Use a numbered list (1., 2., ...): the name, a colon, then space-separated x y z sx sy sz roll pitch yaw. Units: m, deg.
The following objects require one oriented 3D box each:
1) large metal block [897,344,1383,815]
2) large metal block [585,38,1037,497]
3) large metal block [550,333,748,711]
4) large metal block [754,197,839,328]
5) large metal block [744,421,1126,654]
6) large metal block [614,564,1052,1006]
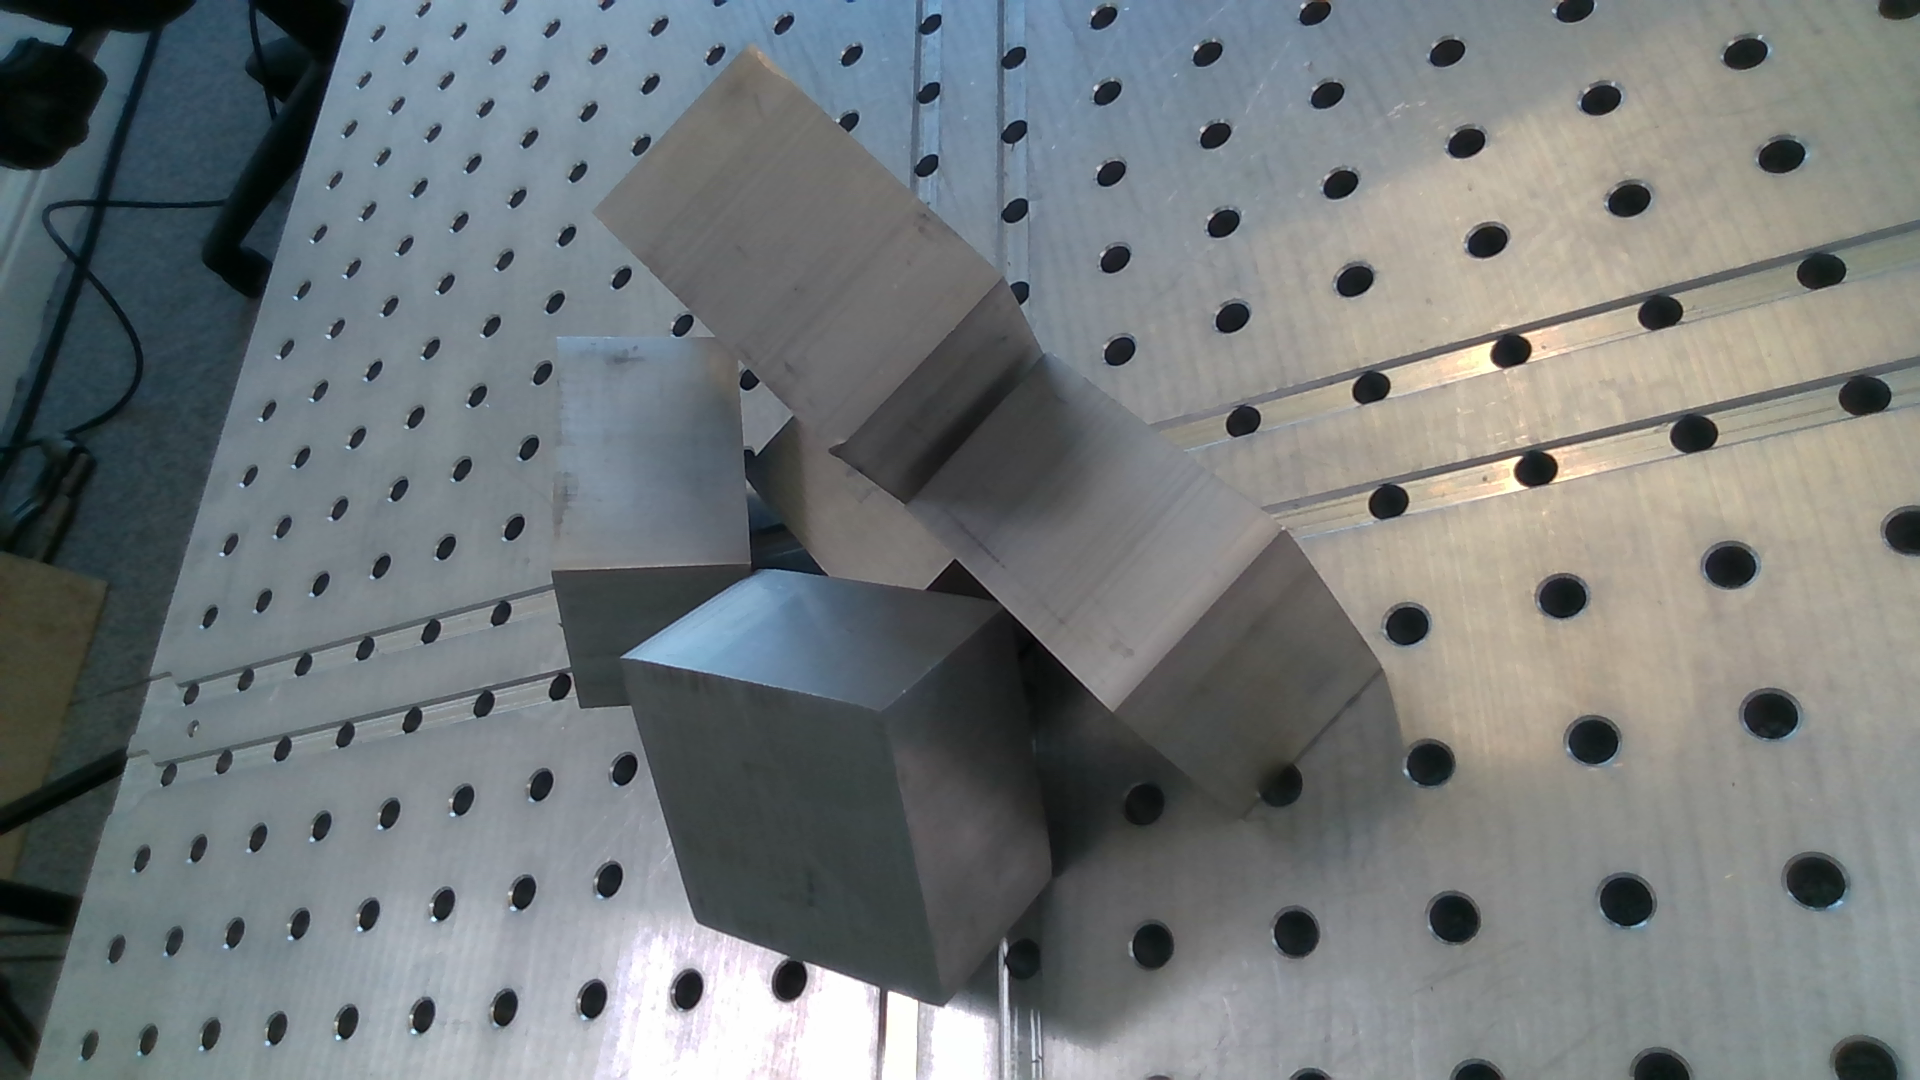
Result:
1. large metal block: 0.044 0.011 0.328 0.050 0.080 0.080 -48 51 2
2. large metal block: -0.028 -0.057 0.327 0.050 0.080 0.080 -46 76 2
3. large metal block: -0.091 -0.004 0.409 0.050 0.080 0.080 -2 57 -11
4. large metal block: -0.040 -0.081 0.427 0.050 0.080 0.080 -47 51 2
5. large metal block: -0.003 -0.016 0.391 0.080 0.050 0.080 -47 51 2
6. large metal block: -0.029 0.056 0.339 0.080 0.080 0.050 6 28 34
